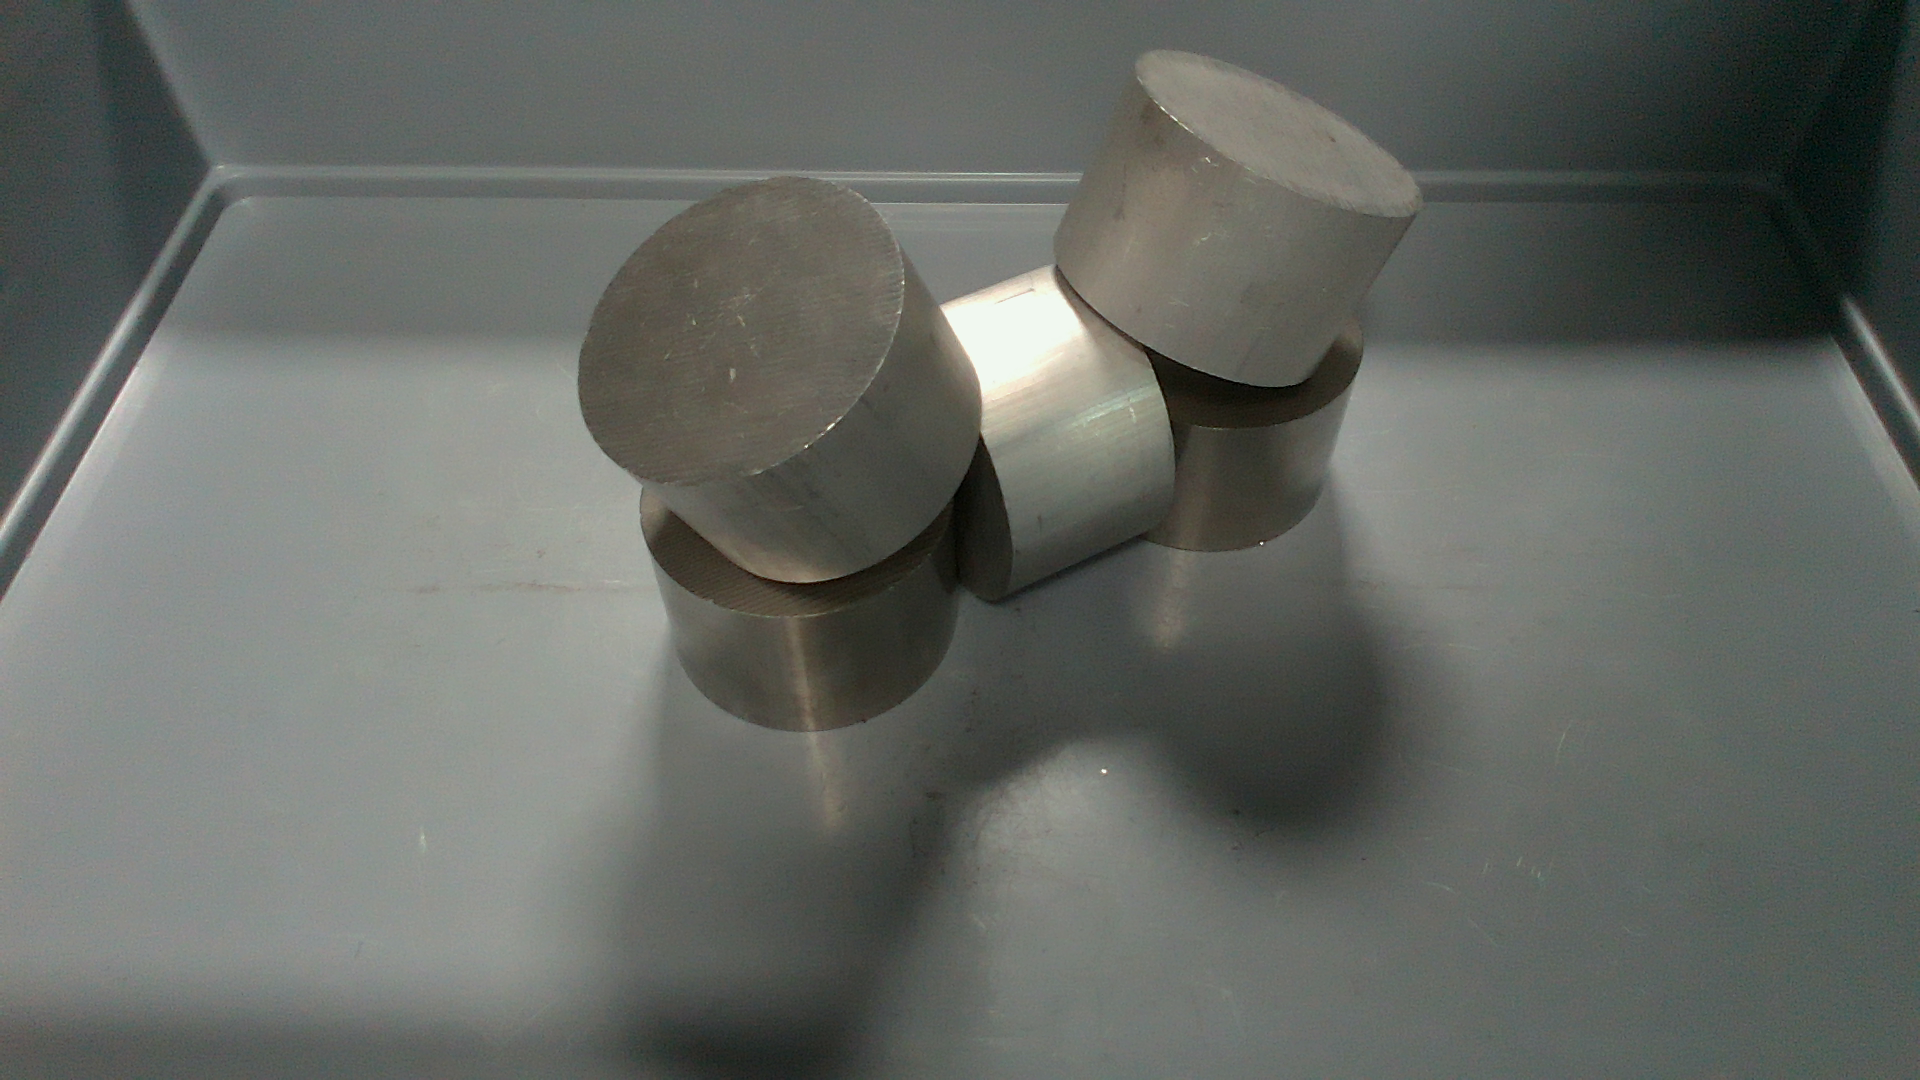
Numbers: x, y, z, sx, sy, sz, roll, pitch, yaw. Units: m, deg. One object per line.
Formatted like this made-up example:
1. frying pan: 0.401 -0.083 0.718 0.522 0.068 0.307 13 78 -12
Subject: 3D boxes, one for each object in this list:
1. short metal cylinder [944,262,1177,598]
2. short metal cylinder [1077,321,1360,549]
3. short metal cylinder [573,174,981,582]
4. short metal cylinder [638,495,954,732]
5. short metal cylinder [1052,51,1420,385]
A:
1. short metal cylinder: 0.016 -0.031 0.380 0.050 0.080 0.080 -23 54 -18
2. short metal cylinder: 0.073 -0.044 0.411 0.080 0.050 0.080 0 50 0
3. short metal cylinder: -0.041 -0.037 0.321 0.080 0.050 0.080 -9 61 18
4. short metal cylinder: -0.041 0.004 0.370 0.080 0.050 0.080 0 50 0
5. short metal cylinder: 0.071 -0.085 0.360 0.080 0.050 0.080 17 35 -13
